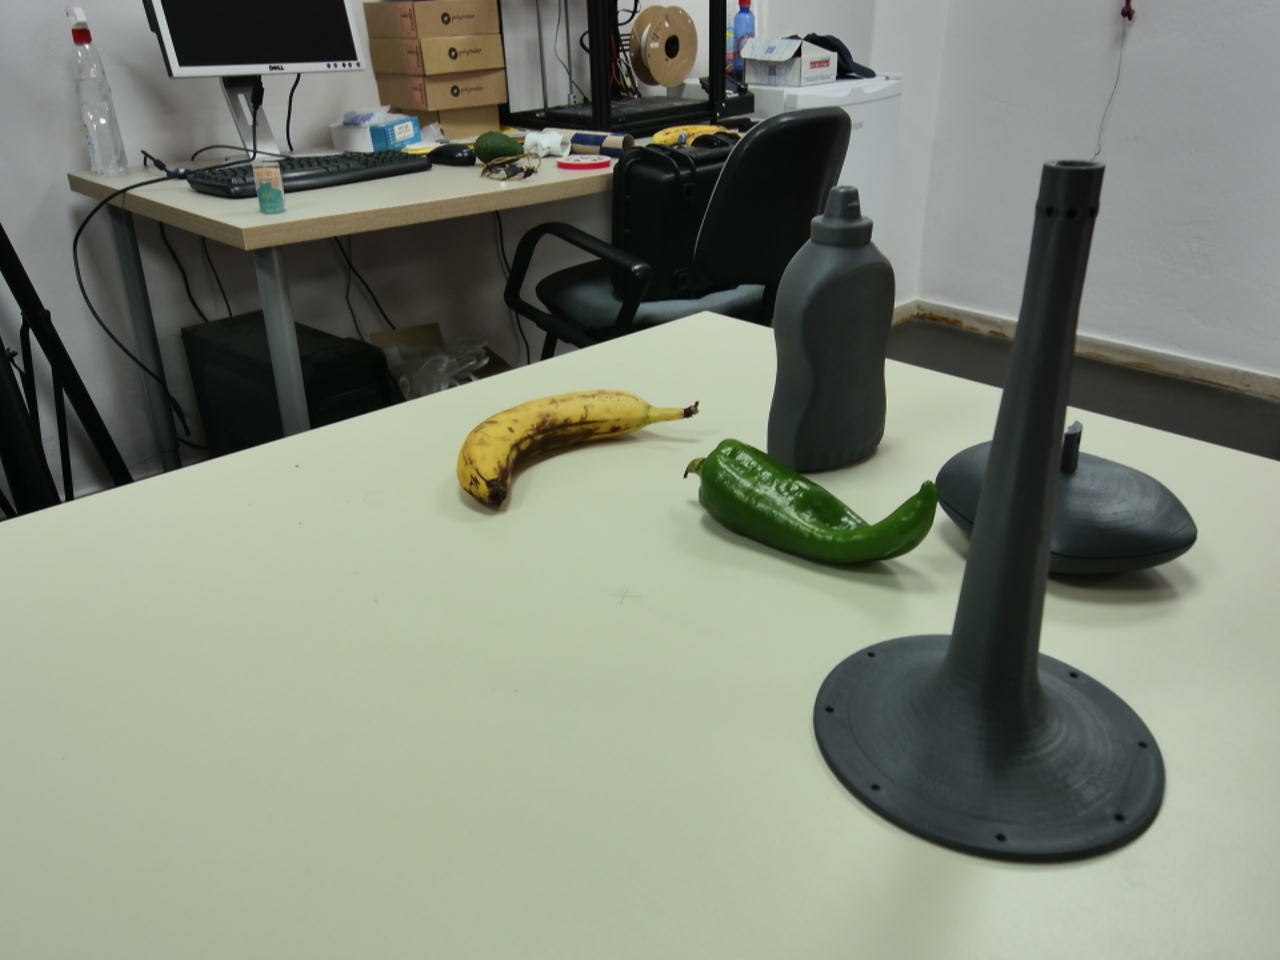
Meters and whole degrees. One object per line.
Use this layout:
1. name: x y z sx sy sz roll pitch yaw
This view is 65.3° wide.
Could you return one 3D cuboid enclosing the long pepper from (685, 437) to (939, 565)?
1. long pepper: 0.094 0.009 0.610 0.058 0.065 0.175 -21 32 -39
